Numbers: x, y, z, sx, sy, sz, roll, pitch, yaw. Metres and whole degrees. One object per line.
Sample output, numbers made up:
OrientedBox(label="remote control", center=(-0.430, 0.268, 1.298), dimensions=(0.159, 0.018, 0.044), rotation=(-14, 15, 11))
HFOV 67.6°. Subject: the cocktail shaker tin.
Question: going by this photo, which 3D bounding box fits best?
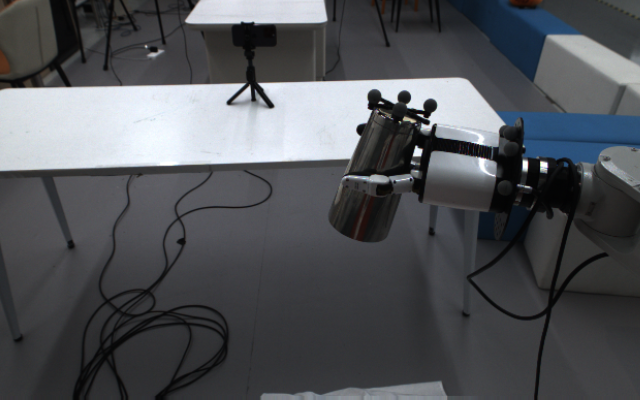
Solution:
OrientedBox(label="cocktail shaker tin", center=(0.080, -0.039, 0.658), dimensions=(0.093, 0.170, 0.093), rotation=(12, 29, -7))
